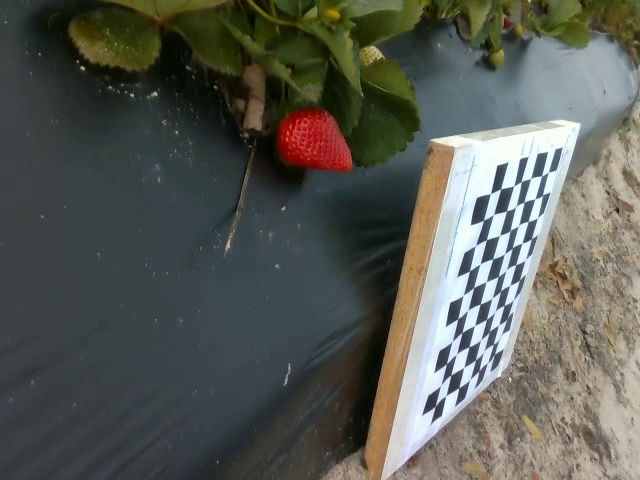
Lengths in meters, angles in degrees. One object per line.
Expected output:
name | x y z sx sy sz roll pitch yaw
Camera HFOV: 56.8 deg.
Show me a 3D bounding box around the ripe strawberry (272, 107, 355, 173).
ripe strawberry | -0.001 -0.047 0.285 0.046 0.037 0.036 40 -13 -3
